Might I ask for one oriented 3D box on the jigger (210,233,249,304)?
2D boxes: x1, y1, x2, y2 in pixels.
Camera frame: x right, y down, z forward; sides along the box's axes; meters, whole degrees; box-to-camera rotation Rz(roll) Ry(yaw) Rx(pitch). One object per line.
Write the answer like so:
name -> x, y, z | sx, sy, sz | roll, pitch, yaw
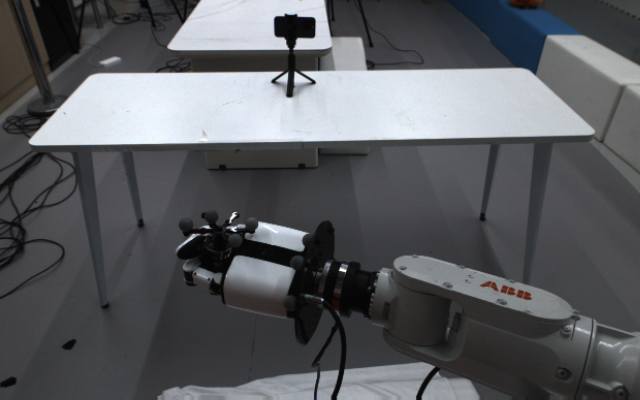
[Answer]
jigger -> -0.127, 0.081, 0.644 | 0.043, 0.071, 0.043 | 4, 31, -2
